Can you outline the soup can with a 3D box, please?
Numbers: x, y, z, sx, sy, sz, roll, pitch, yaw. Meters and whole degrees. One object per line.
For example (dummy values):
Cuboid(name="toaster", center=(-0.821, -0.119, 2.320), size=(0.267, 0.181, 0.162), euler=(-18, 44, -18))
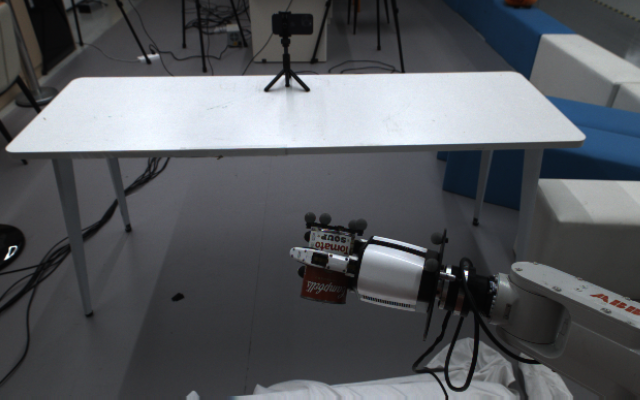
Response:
Cuboid(name="soup can", center=(0.013, 0.096, 0.705), size=(0.067, 0.101, 0.067), euler=(9, -6, 1))
